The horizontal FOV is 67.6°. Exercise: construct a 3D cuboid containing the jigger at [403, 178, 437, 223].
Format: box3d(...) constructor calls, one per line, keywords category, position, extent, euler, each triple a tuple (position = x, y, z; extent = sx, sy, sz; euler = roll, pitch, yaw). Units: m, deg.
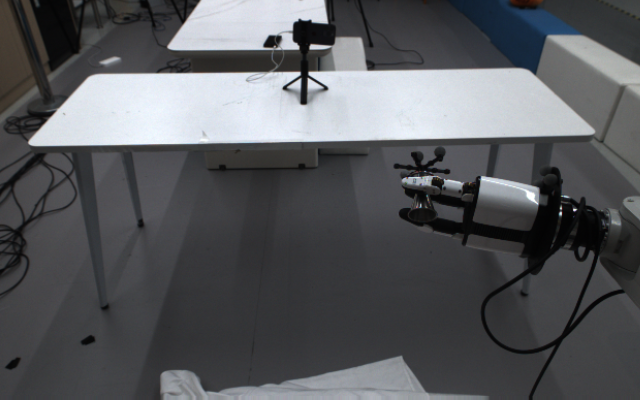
box3d(category="jigger", position=(0.155, -0.007, 0.746), extent=(0.043, 0.043, 0.071), euler=(4, 61, 3))
